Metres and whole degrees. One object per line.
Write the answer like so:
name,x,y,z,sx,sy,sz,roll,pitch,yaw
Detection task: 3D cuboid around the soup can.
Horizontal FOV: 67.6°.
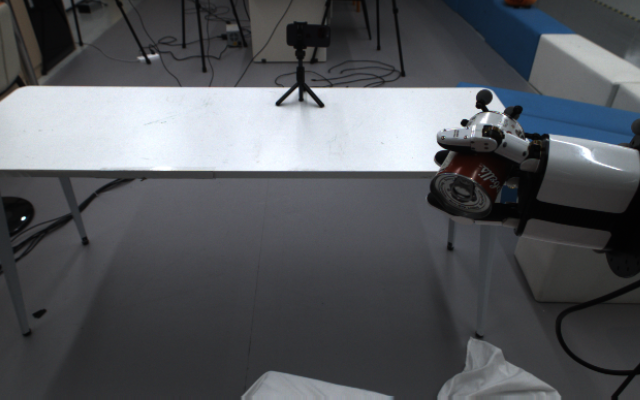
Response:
soup can,0.175,-0.040,0.523,0.067,0.067,0.101,22,60,26
